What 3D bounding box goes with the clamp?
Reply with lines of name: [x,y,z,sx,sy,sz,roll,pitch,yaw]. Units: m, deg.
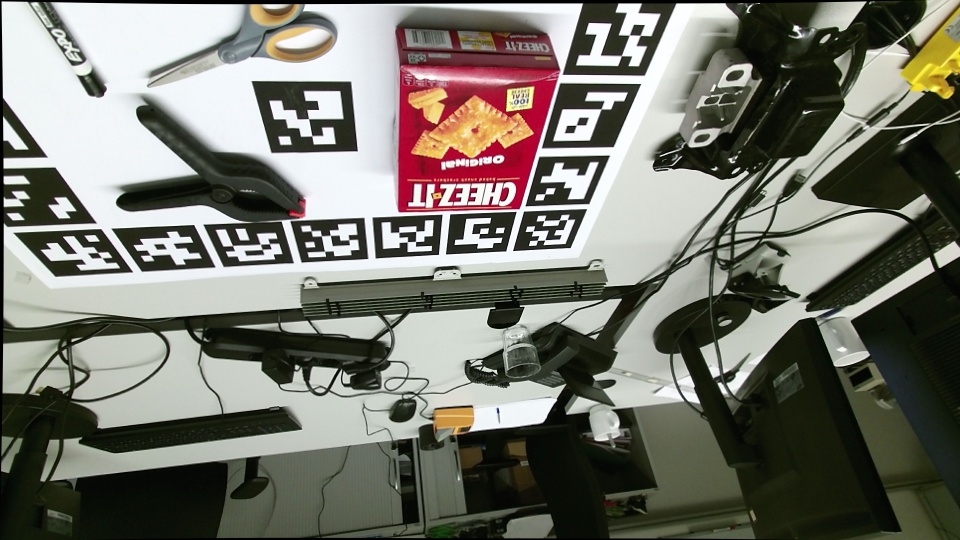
clamp: [-0.308,-0.105,0.670,0.204,0.036,0.165,17,139,-35]

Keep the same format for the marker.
marker: [-0.374,-0.204,0.491,0.020,0.019,0.121,-6,147,-8]

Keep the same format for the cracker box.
cracker box: [-0.012,-0.160,0.620,0.165,0.071,0.214,-3,146,-12]

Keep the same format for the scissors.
scissors: [-0.235,-0.211,0.523,0.203,0.016,0.088,-18,147,15]
